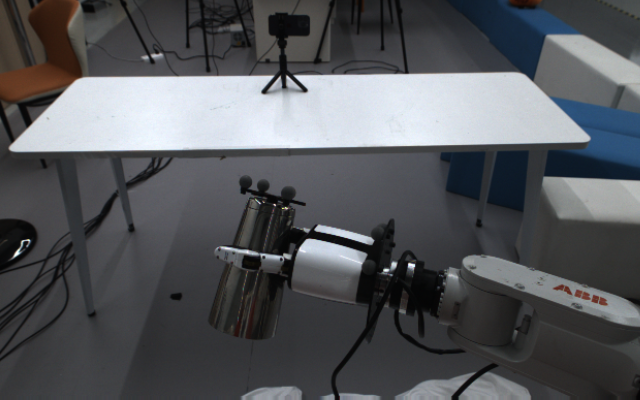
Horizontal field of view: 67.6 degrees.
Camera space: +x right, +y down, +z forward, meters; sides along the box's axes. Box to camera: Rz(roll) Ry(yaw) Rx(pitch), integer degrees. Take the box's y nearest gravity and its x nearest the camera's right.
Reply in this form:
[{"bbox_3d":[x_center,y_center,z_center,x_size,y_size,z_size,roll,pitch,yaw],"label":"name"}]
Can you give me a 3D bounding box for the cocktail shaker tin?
[{"bbox_3d":[-0.084,0.086,0.643,0.093,0.170,0.093,13,2,0],"label":"cocktail shaker tin"}]
